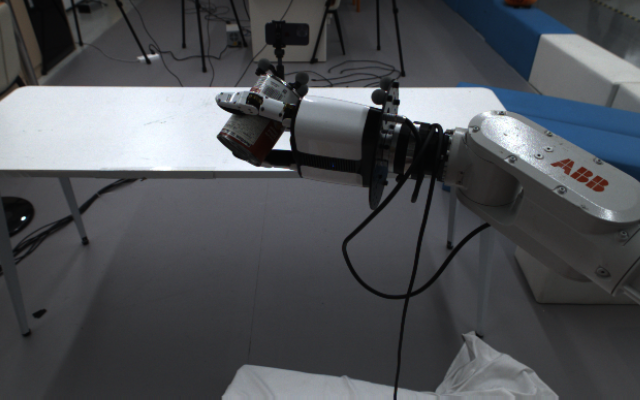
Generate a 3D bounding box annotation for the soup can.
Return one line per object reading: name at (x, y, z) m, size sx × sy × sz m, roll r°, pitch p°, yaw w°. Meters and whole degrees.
soup can at (-0.077, -0.103, 0.628) m, size 0.067 × 0.067 × 0.101 m, roll 27°, pitch 79°, yaw 31°
